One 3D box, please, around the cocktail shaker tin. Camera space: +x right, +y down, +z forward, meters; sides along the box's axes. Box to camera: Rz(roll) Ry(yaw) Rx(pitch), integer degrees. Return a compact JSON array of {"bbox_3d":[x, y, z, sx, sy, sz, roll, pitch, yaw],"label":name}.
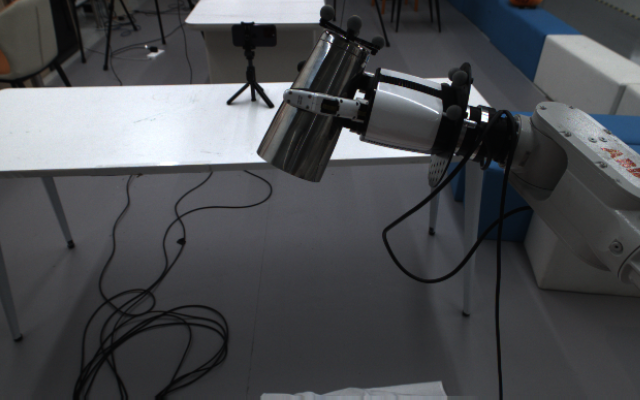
[{"bbox_3d":[-0.002,-0.121,0.610,0.093,0.170,0.093,24,12,-6],"label":"cocktail shaker tin"}]
